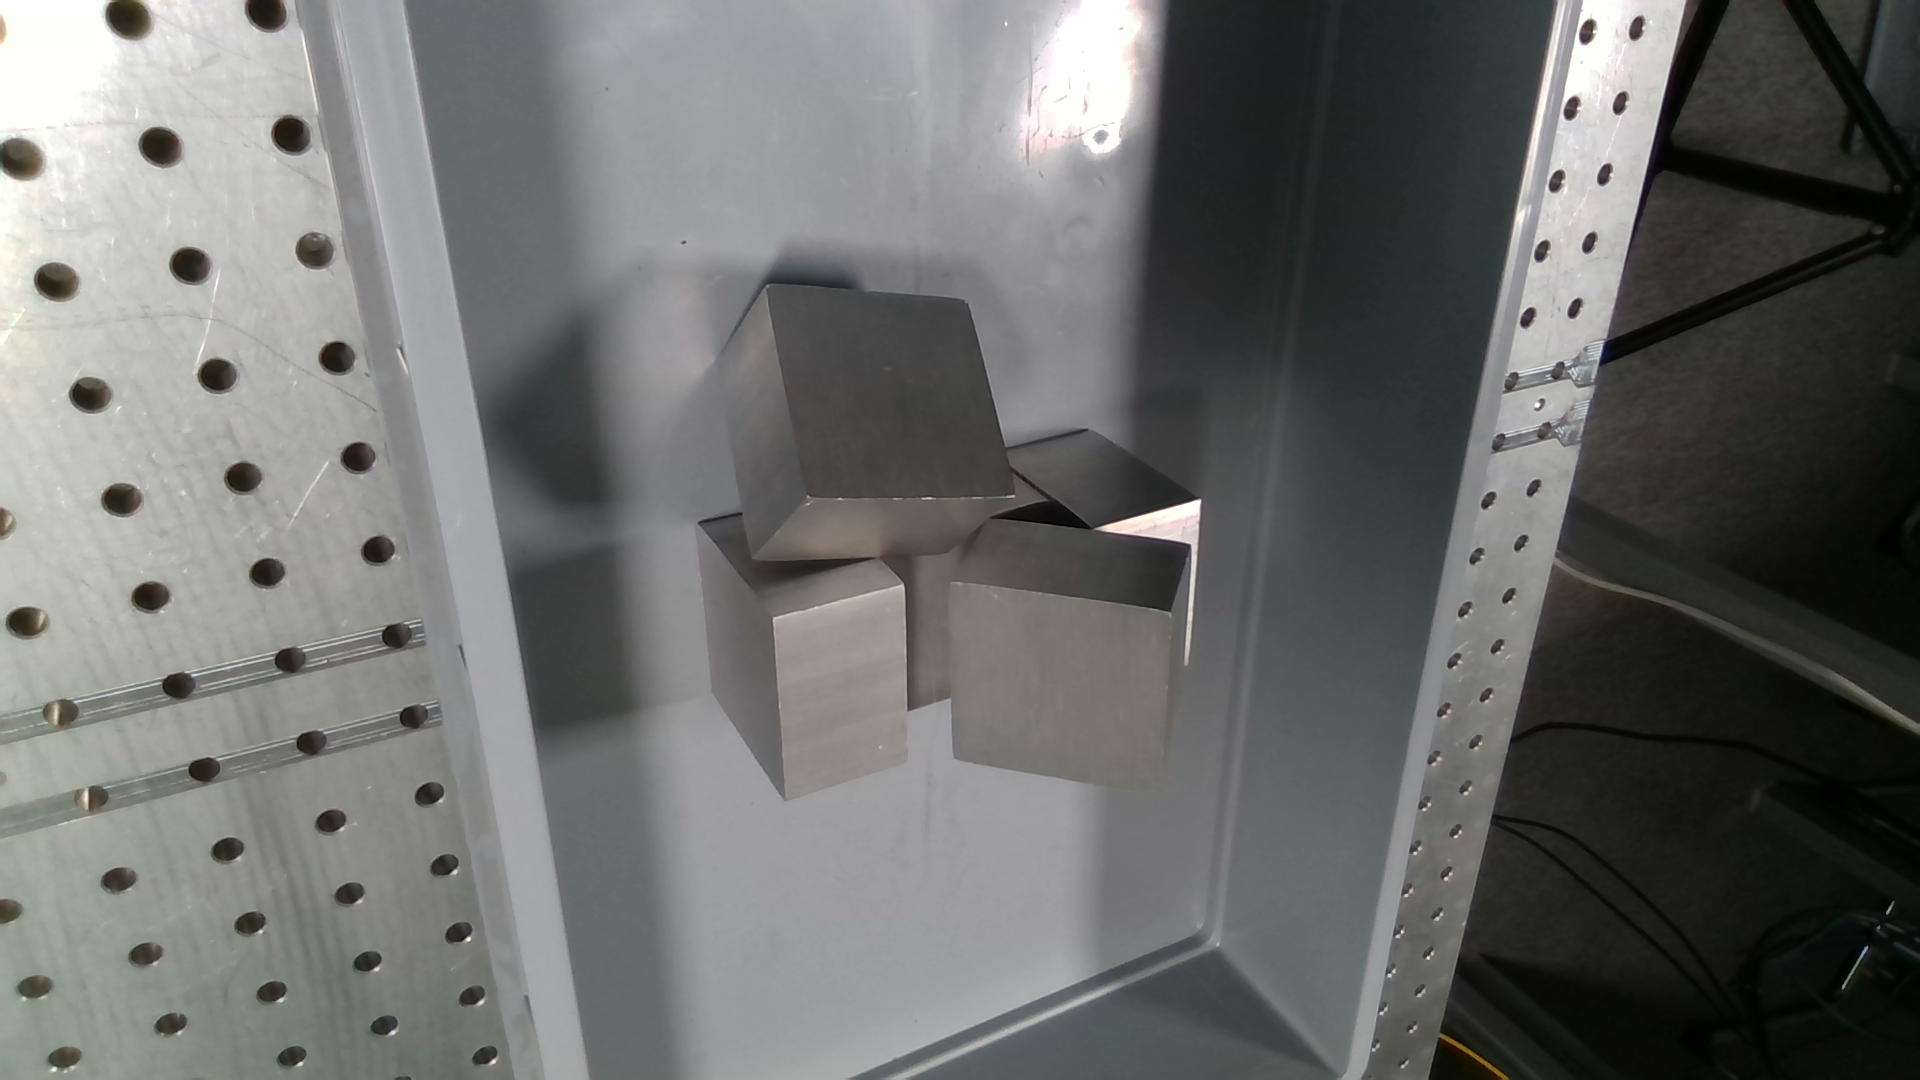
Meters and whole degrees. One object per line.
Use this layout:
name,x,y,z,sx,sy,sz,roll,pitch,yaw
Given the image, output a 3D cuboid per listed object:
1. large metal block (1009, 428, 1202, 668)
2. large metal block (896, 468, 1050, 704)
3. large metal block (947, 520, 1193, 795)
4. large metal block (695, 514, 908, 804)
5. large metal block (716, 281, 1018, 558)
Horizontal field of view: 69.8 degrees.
large metal block,0.055,0.008,0.581,0.050,0.080,0.080,-16,122,-24
large metal block,-0.011,0.015,0.567,0.080,0.050,0.080,-15,122,-24
large metal block,0.042,0.043,0.520,0.050,0.080,0.080,-58,152,-57
large metal block,-0.061,0.039,0.527,0.050,0.080,0.080,-14,121,-25
large metal block,-0.034,-0.041,0.490,0.080,0.080,0.050,-2,158,-30
